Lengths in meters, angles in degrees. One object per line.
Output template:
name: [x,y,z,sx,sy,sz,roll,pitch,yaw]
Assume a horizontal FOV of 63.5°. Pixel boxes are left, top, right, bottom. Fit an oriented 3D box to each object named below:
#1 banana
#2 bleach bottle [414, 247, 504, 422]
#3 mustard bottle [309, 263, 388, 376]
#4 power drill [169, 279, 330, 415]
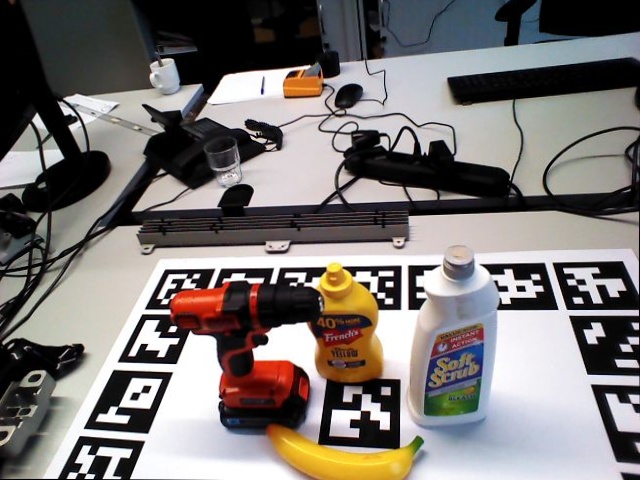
banana: [0.039,0.246,0.605,0.198,0.039,0.074,-3,44,13]
bleach bottle: [0.155,0.110,0.588,0.103,0.251,0.067,-9,40,3]
mustard bottle: [0.035,0.098,0.667,0.096,0.192,0.058,-3,40,9]
power drill: [-0.073,0.129,0.626,0.185,0.187,0.057,-4,33,5]
